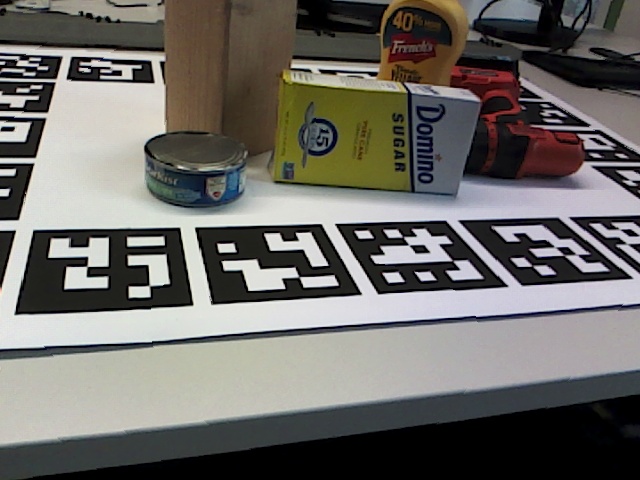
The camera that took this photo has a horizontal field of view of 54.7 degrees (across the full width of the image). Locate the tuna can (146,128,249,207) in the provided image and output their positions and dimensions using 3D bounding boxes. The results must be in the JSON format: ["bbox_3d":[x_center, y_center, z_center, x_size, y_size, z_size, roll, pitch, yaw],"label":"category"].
[{"bbox_3d":[-0.105,-0.064,0.531,0.085,0.033,0.086,7,33,-5],"label":"tuna can"}]

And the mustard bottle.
[{"bbox_3d":[0.113,-0.211,0.686,0.097,0.191,0.058,27,37,24],"label":"mustard bottle"}]

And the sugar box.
[{"bbox_3d":[0.054,-0.095,0.572,0.176,0.093,0.045,6,29,-8],"label":"sugar box"}]

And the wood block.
[{"bbox_3d":[-0.085,-0.186,0.590,0.090,0.206,0.090,-23,45,-40],"label":"wood block"}]

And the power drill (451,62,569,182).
[{"bbox_3d":[0.164,-0.136,0.691,0.184,0.057,0.187,5,40,-6],"label":"power drill"}]
